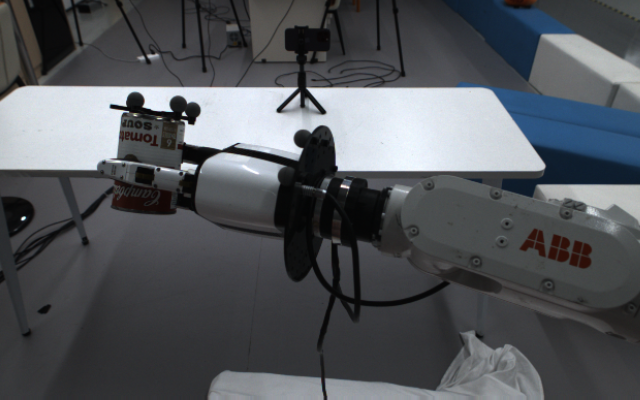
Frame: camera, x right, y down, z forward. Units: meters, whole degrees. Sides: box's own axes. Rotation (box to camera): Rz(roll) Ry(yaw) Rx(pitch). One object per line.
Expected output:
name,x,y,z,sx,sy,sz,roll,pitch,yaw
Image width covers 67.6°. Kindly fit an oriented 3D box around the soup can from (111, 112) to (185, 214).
soup can,-0.185,-0.037,0.529,0.067,0.101,0.067,7,3,0
